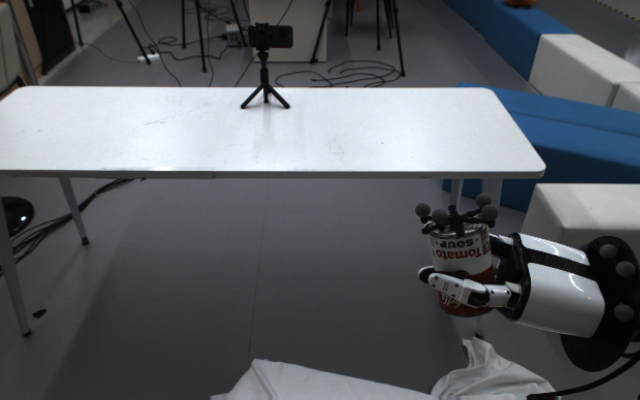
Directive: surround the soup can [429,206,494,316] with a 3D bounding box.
[{"bbox_3d":[0.168,0.073,0.564,0.067,0.101,0.067,-12,17,4],"label":"soup can"}]
